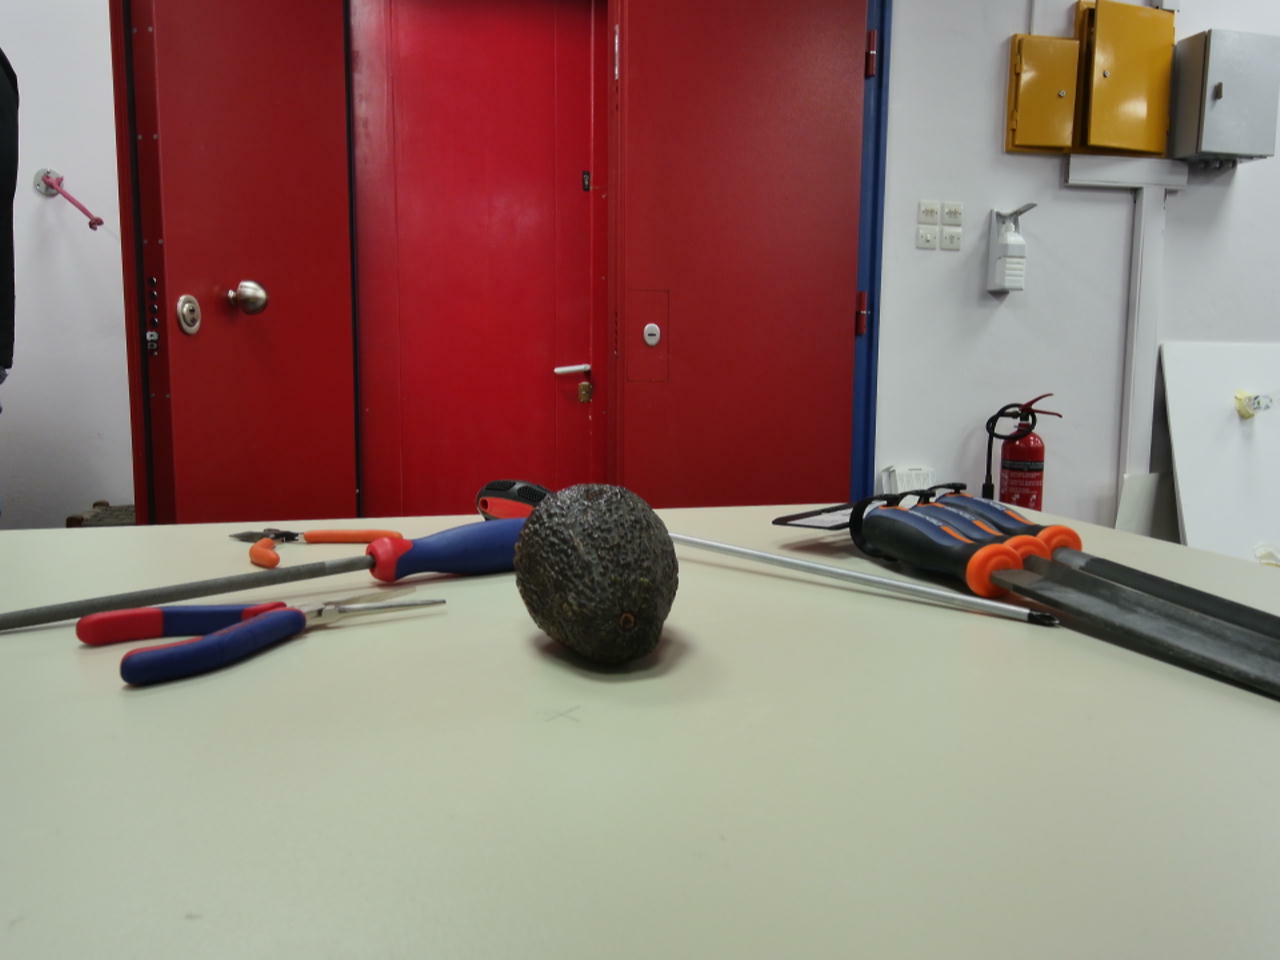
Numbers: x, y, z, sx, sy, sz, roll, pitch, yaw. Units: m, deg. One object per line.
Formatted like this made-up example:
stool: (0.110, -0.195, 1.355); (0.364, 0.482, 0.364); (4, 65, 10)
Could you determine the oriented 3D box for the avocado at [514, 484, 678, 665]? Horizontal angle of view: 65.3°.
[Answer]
avocado: (-0.020, 0.037, 0.419); (0.070, 0.069, 0.090); (1, 4, 12)
